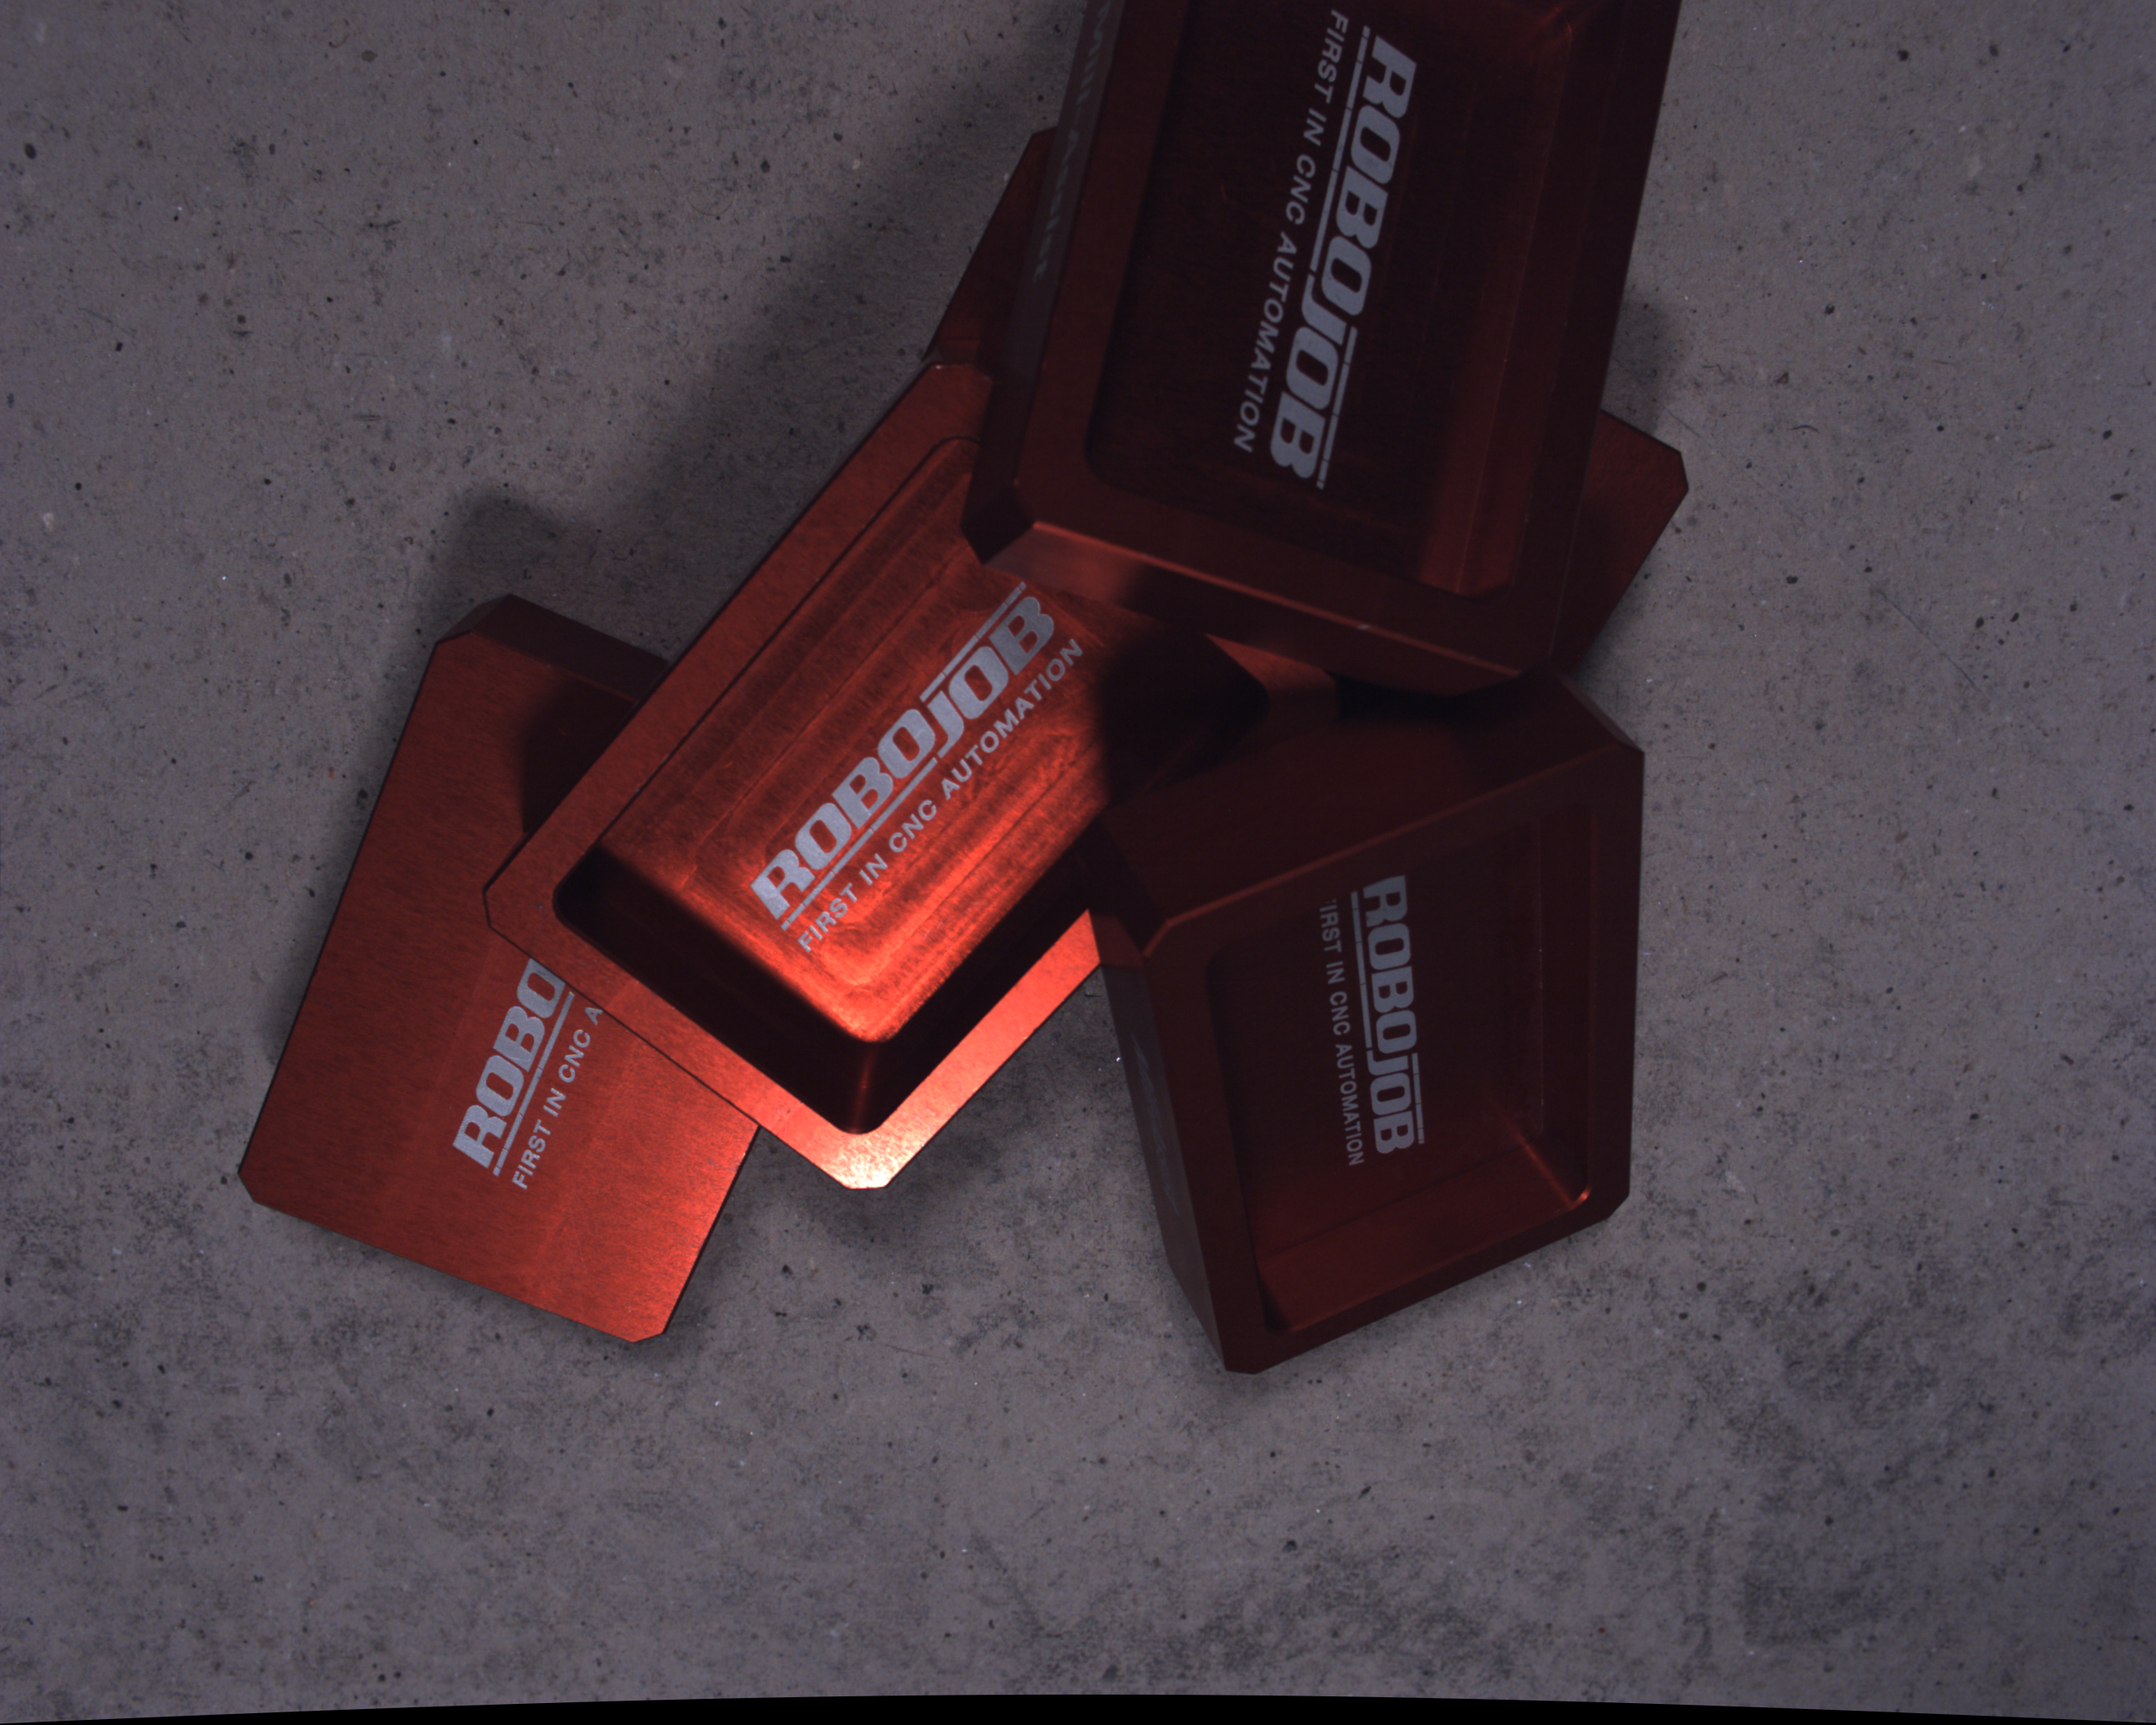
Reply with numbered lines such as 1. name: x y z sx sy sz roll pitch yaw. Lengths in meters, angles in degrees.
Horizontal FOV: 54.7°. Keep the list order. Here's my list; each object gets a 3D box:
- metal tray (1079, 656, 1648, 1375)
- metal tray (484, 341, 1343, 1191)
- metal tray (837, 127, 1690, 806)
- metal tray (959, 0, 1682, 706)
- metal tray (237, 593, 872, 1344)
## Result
1. metal tray: 0.056 0.033 0.385 0.091 0.030 0.129 -22 134 -10
2. metal tray: -0.029 -0.015 0.371 0.090 0.030 0.130 40 105 -14
3. metal tray: 0.032 -0.066 0.384 0.131 0.030 0.089 25 108 -10
4. metal tray: 0.041 -0.100 0.336 0.091 0.030 0.129 15 82 -17
5. metal tray: -0.100 0.023 0.415 0.090 0.030 0.129 23 108 -9
